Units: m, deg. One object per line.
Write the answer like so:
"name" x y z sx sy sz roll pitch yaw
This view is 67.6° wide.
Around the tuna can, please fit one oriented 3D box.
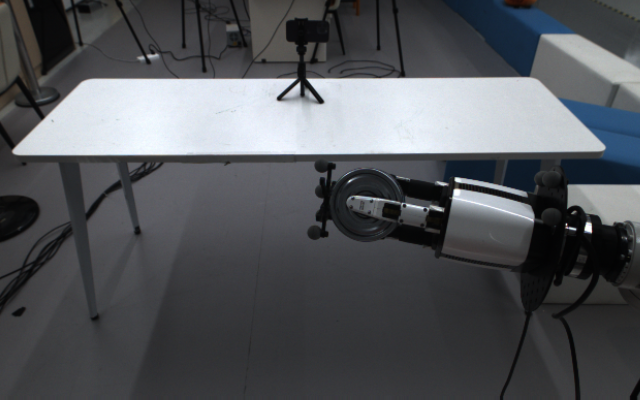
"tuna can" 0.058 0.008 0.556 0.085 0.085 0.034 10 2 11
